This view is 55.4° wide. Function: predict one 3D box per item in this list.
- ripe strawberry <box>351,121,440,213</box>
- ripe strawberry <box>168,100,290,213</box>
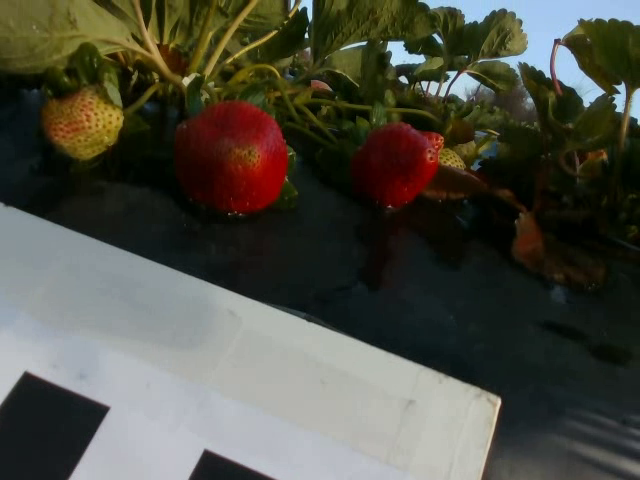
[{"bbox_3d":[0.037,-0.034,0.282,0.044,0.042,0.055,-37,14,-21],"label":"ripe strawberry"},{"bbox_3d":[-0.034,-0.036,0.234,0.050,0.050,0.065,-15,4,-9],"label":"ripe strawberry"}]
